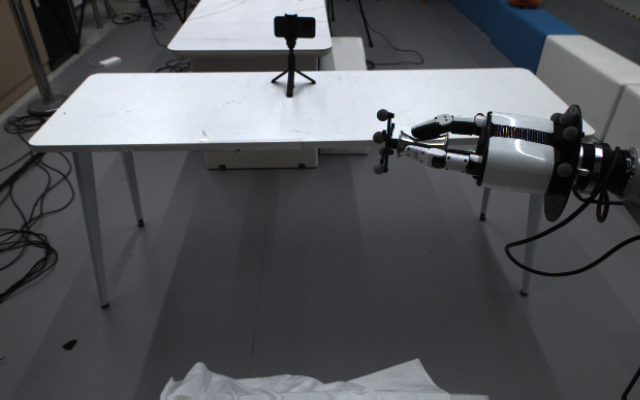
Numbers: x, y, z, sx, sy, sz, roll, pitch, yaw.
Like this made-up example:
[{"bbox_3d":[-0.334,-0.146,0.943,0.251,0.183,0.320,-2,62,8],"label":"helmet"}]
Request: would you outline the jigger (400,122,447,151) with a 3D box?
[{"bbox_3d":[0.155,-0.081,0.701,0.071,0.043,0.043,7,35,16],"label":"jigger"}]
